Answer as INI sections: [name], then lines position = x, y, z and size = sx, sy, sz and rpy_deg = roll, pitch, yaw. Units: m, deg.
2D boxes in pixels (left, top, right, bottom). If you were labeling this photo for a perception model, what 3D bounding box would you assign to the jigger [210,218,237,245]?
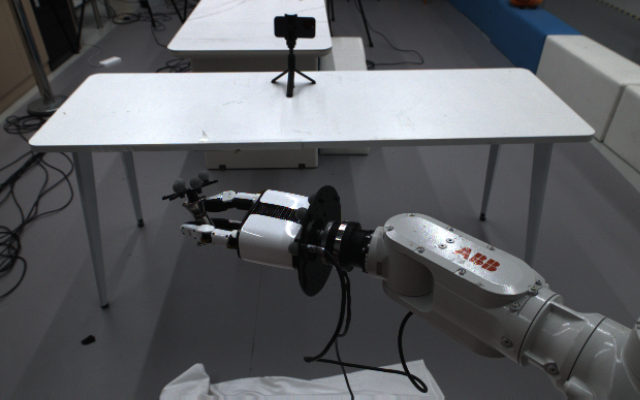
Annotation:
[jigger]
position = -0.179, 0.031, 0.752
size = 0.043, 0.071, 0.043
rpy_deg = -19, 14, 5
